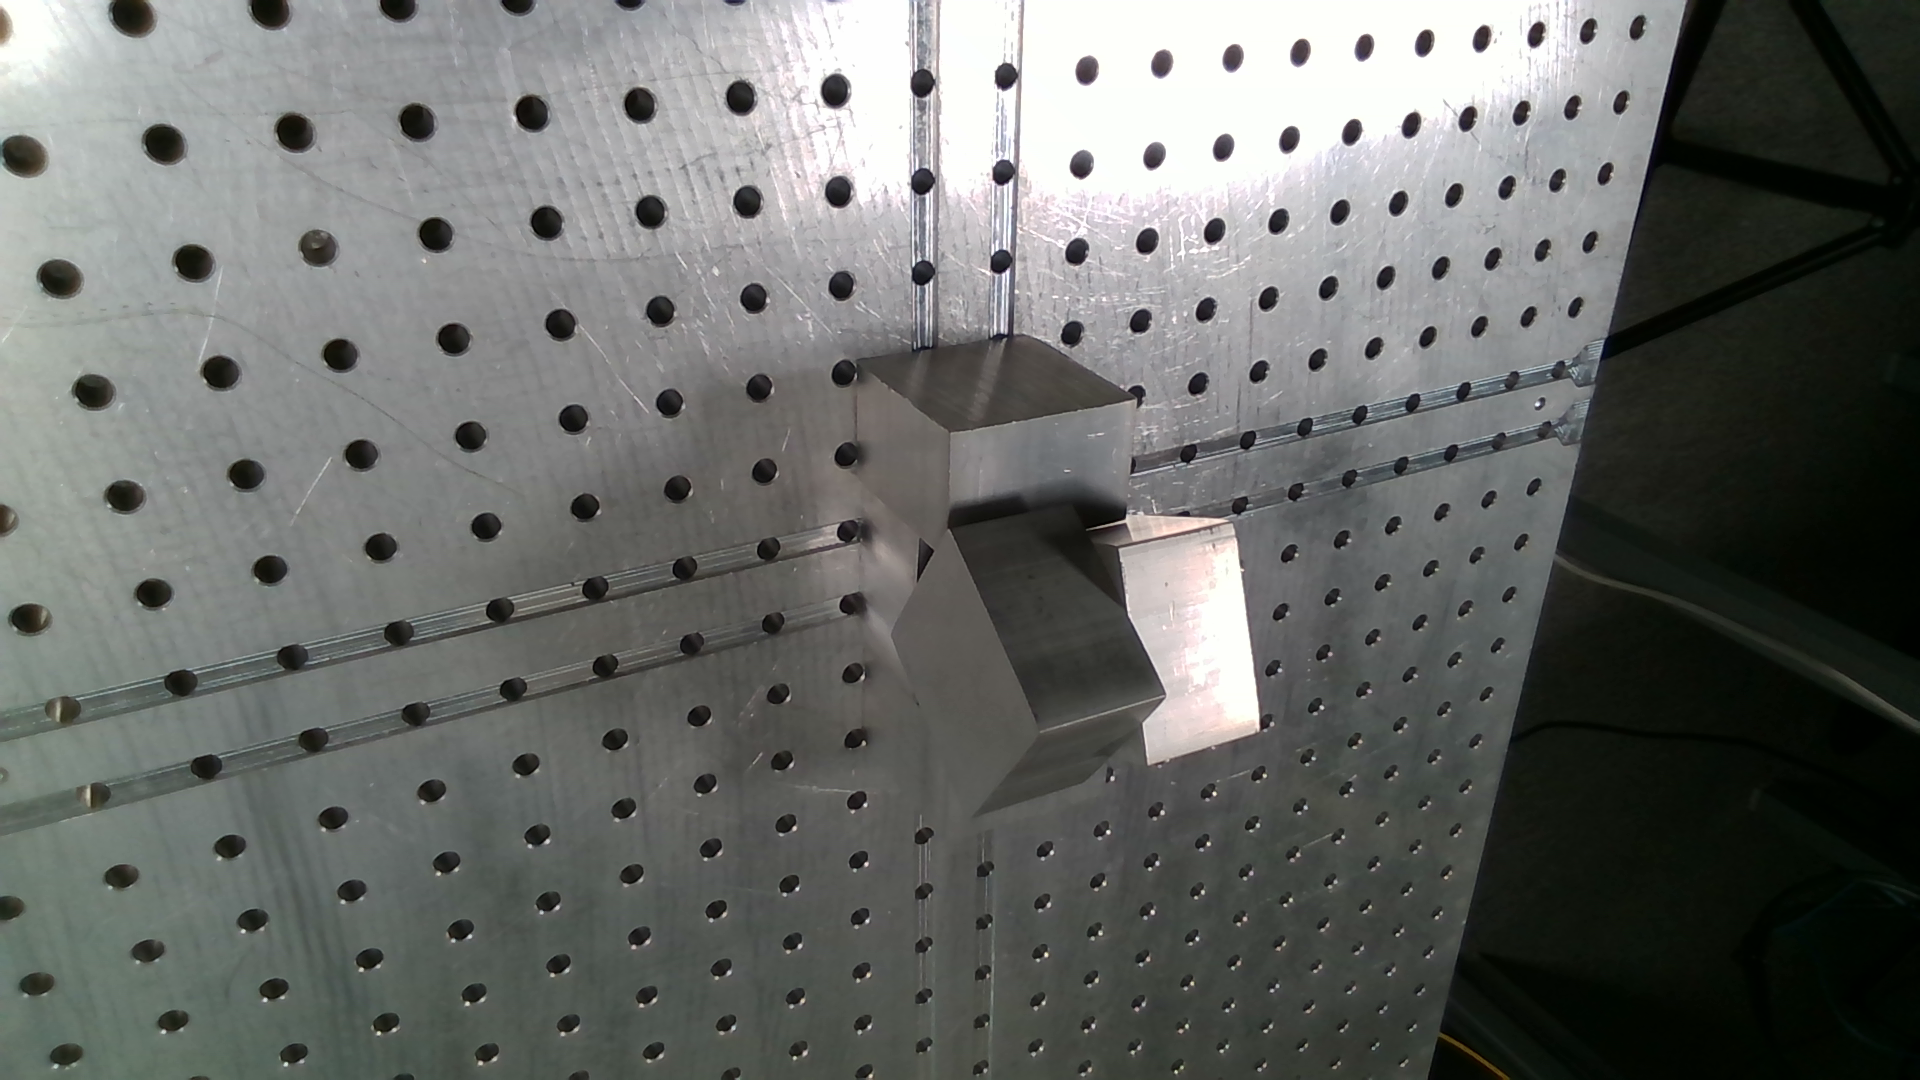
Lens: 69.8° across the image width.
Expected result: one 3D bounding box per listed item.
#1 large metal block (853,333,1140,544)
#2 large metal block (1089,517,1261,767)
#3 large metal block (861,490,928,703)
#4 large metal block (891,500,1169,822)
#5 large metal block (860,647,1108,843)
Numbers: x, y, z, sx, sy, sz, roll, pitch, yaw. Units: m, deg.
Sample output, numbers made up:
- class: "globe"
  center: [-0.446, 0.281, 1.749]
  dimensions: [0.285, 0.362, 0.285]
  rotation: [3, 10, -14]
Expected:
- class: "large metal block"
  center: [0.012, -0.039, 0.534]
  dimensions: [0.080, 0.080, 0.050]
  rotation: [-13, 121, -26]
- class: "large metal block"
  center: [0.064, 0.034, 0.524]
  dimensions: [0.050, 0.080, 0.080]
  rotation: [-12, 98, -27]
- class: "large metal block"
  center: [0.006, 0.014, 0.576]
  dimensions: [0.080, 0.050, 0.080]
  rotation: [-12, 120, -26]
- class: "large metal block"
  center: [0.021, 0.044, 0.499]
  dimensions: [0.050, 0.080, 0.080]
  rotation: [-12, 154, -27]
- class: "large metal block"
  center: [0.010, 0.077, 0.596]
  dimensions: [0.080, 0.080, 0.050]
  rotation: [-11, 120, -27]
